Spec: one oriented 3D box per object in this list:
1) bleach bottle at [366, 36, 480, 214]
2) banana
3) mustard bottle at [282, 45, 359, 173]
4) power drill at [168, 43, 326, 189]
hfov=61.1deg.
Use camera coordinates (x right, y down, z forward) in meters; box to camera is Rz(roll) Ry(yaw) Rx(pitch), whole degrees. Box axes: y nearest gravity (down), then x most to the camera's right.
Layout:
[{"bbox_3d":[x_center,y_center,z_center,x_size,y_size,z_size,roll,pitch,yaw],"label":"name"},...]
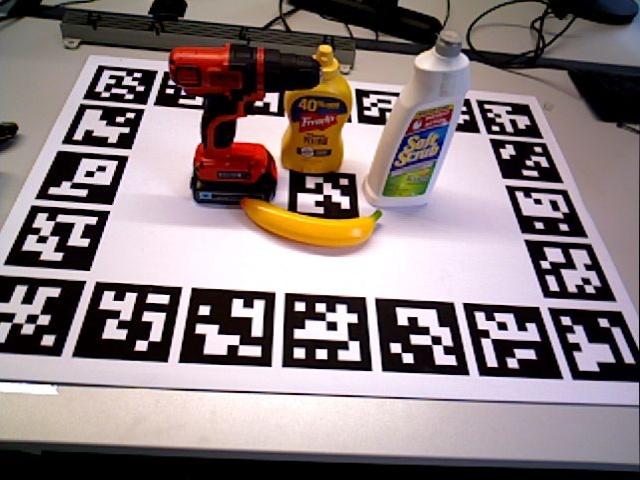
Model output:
[{"bbox_3d":[0.134,-0.140,0.703,0.101,0.257,0.067,-2,52,-11],"label":"bleach bottle"},{"bbox_3d":[-0.001,-0.023,0.714,0.196,0.040,0.073,6,55,-1],"label":"banana"},{"bbox_3d":[0.003,-0.181,0.745,0.095,0.196,0.057,6,50,-6],"label":"mustard bottle"},{"bbox_3d":[-0.095,-0.154,0.684,0.183,0.192,0.056,4,44,-9],"label":"power drill"}]
